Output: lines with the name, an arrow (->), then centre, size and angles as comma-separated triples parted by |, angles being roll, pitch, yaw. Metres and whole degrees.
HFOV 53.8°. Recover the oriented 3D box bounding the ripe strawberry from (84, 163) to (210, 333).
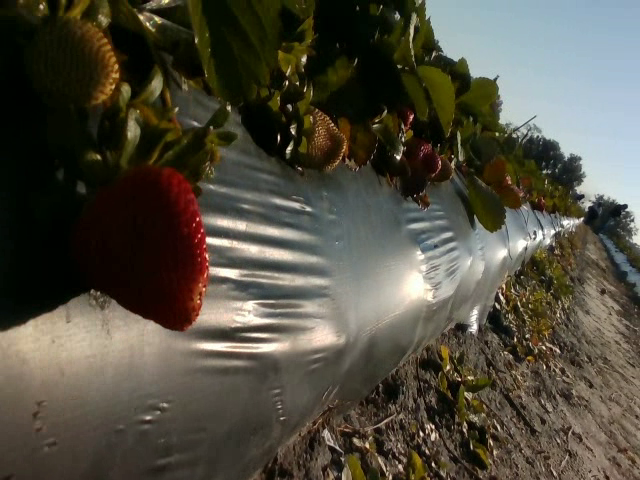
ripe strawberry -> -0.048, 0.005, 0.175 | 0.042, 0.058, 0.042 | -34, -28, 6
